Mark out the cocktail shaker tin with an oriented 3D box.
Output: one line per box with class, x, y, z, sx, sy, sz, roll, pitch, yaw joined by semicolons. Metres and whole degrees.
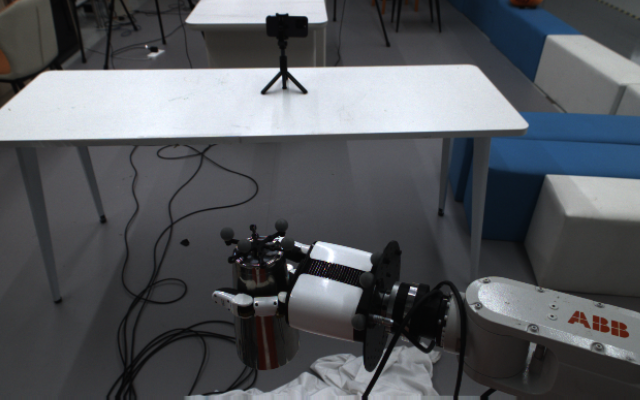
cocktail shaker tin;-0.072;0.133;0.654;0.093;0.170;0.093;-1;32;1
